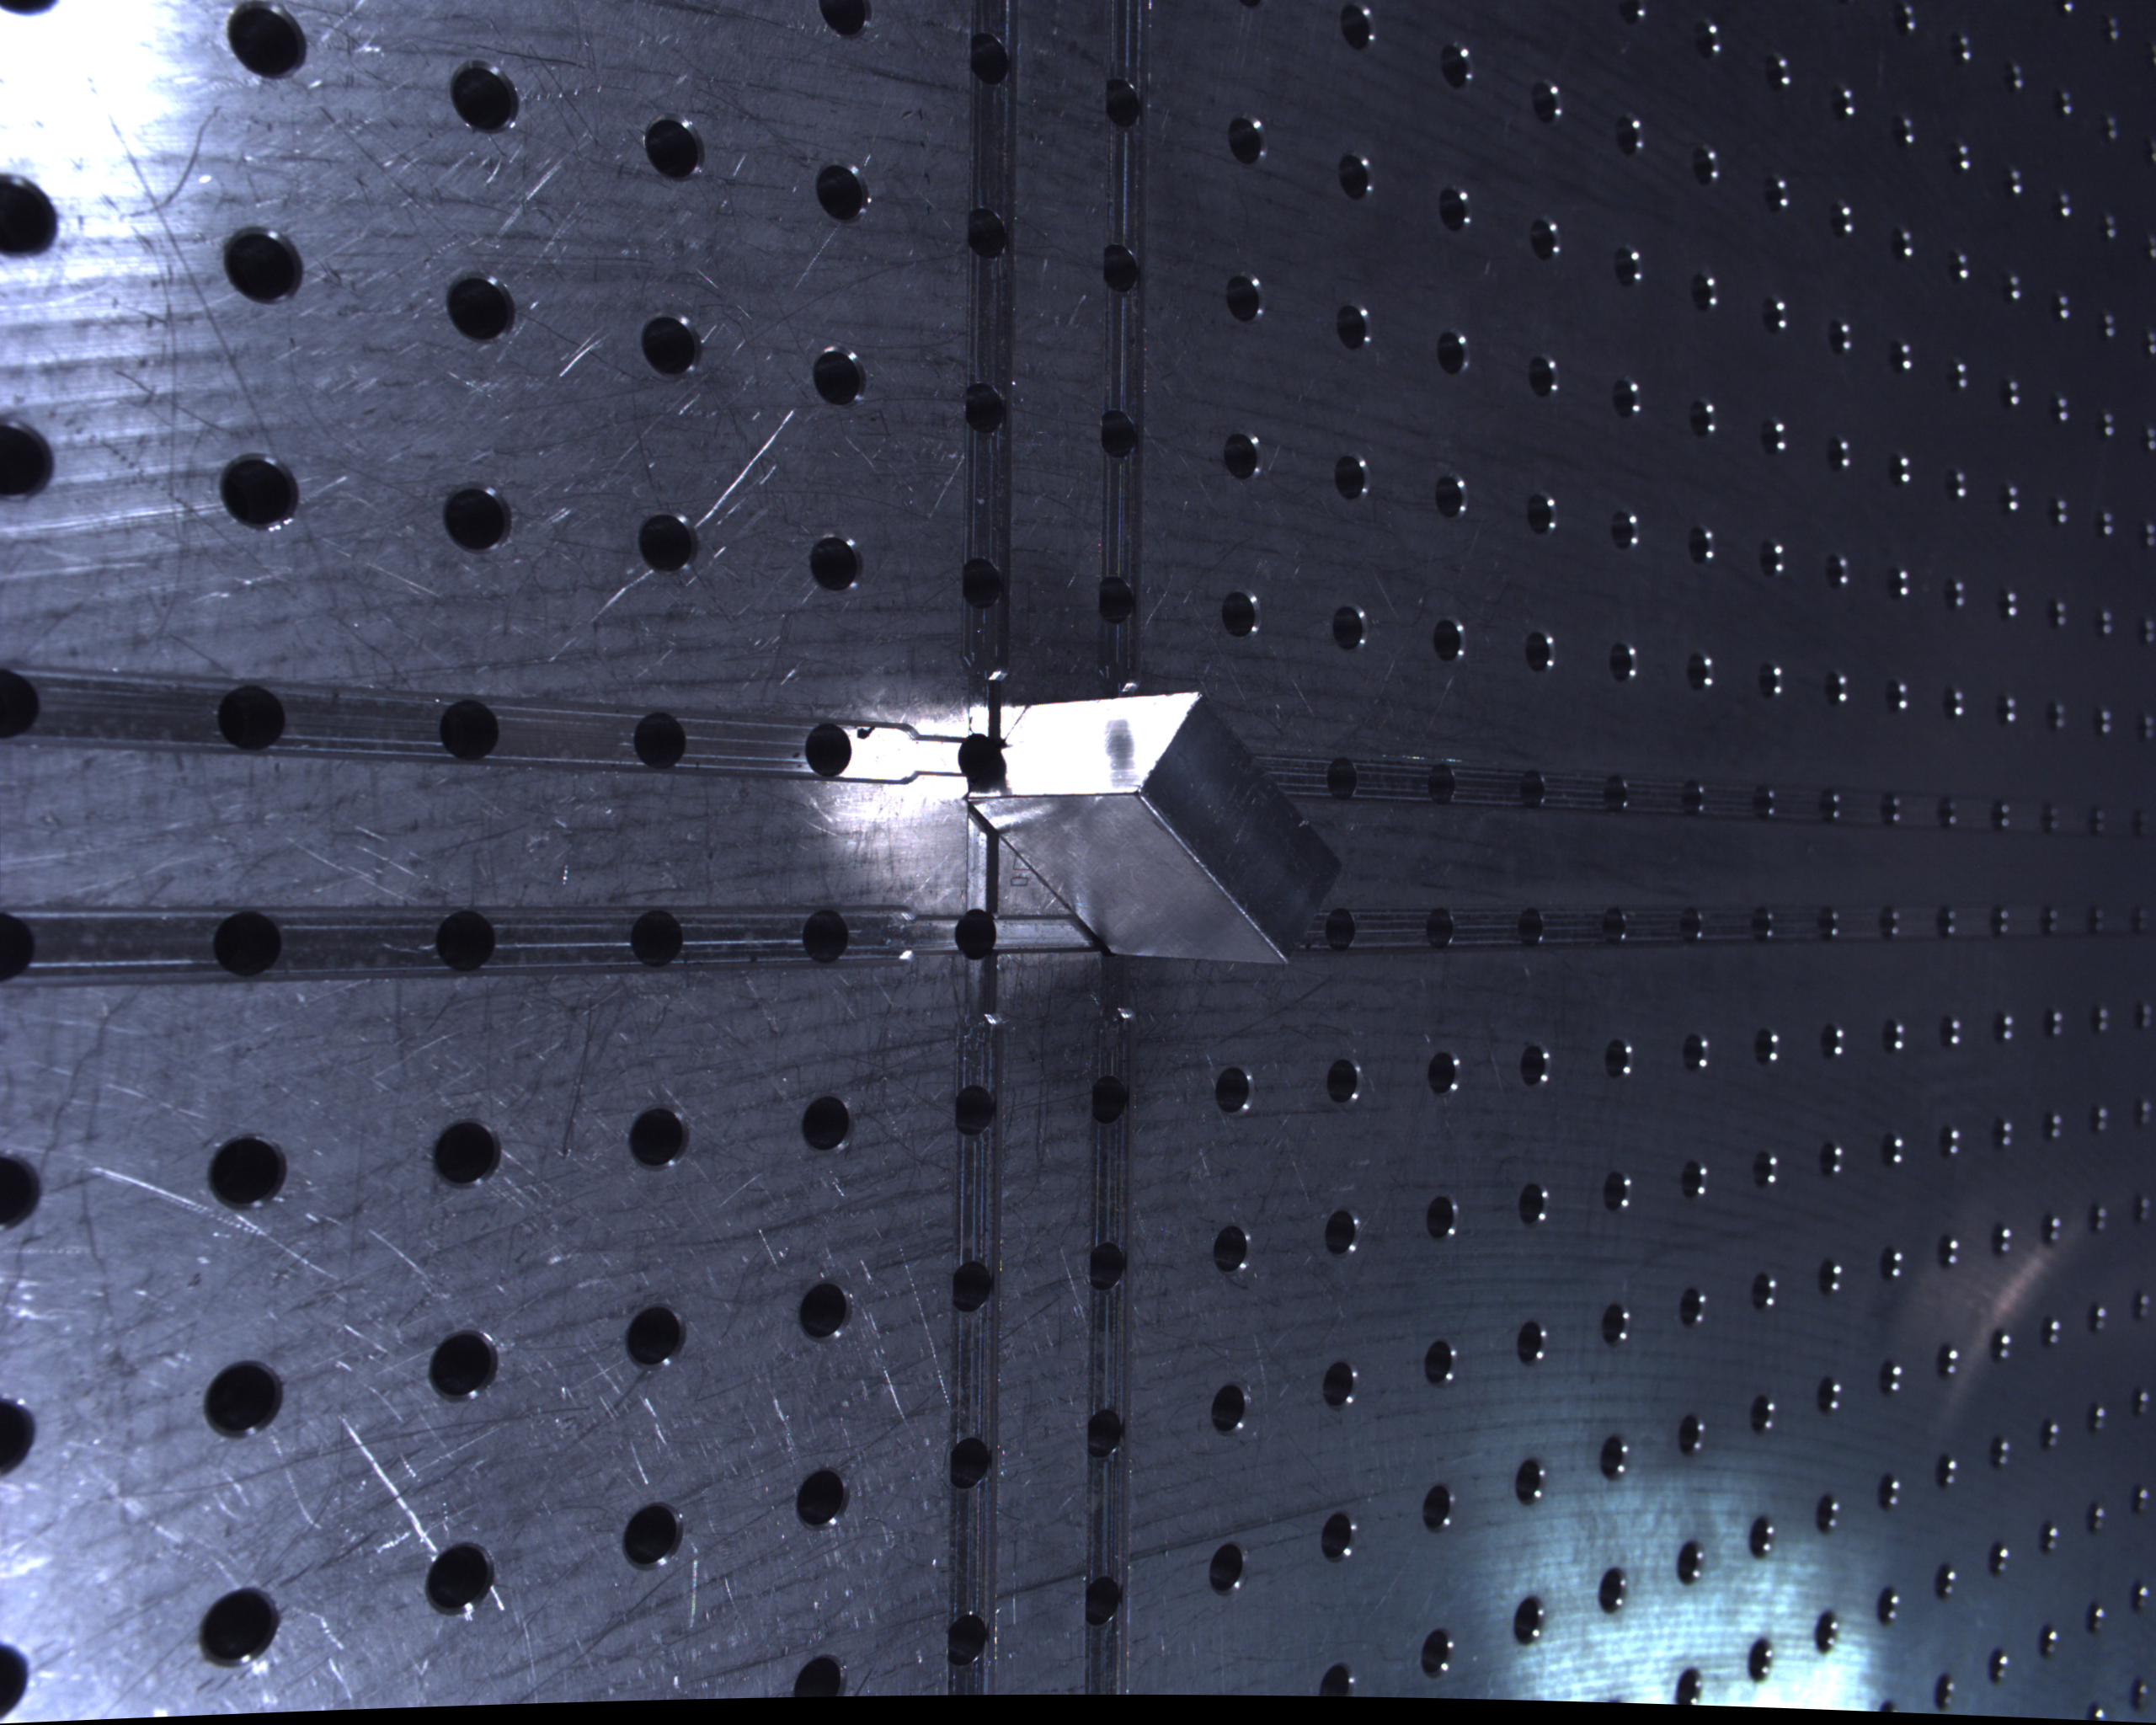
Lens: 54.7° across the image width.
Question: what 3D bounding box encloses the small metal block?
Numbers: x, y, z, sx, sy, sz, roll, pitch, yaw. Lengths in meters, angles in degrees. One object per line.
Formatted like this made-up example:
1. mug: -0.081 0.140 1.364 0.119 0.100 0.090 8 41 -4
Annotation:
1. small metal block: 0.015 -0.006 0.407 0.050 0.050 0.025 48 62 -30
